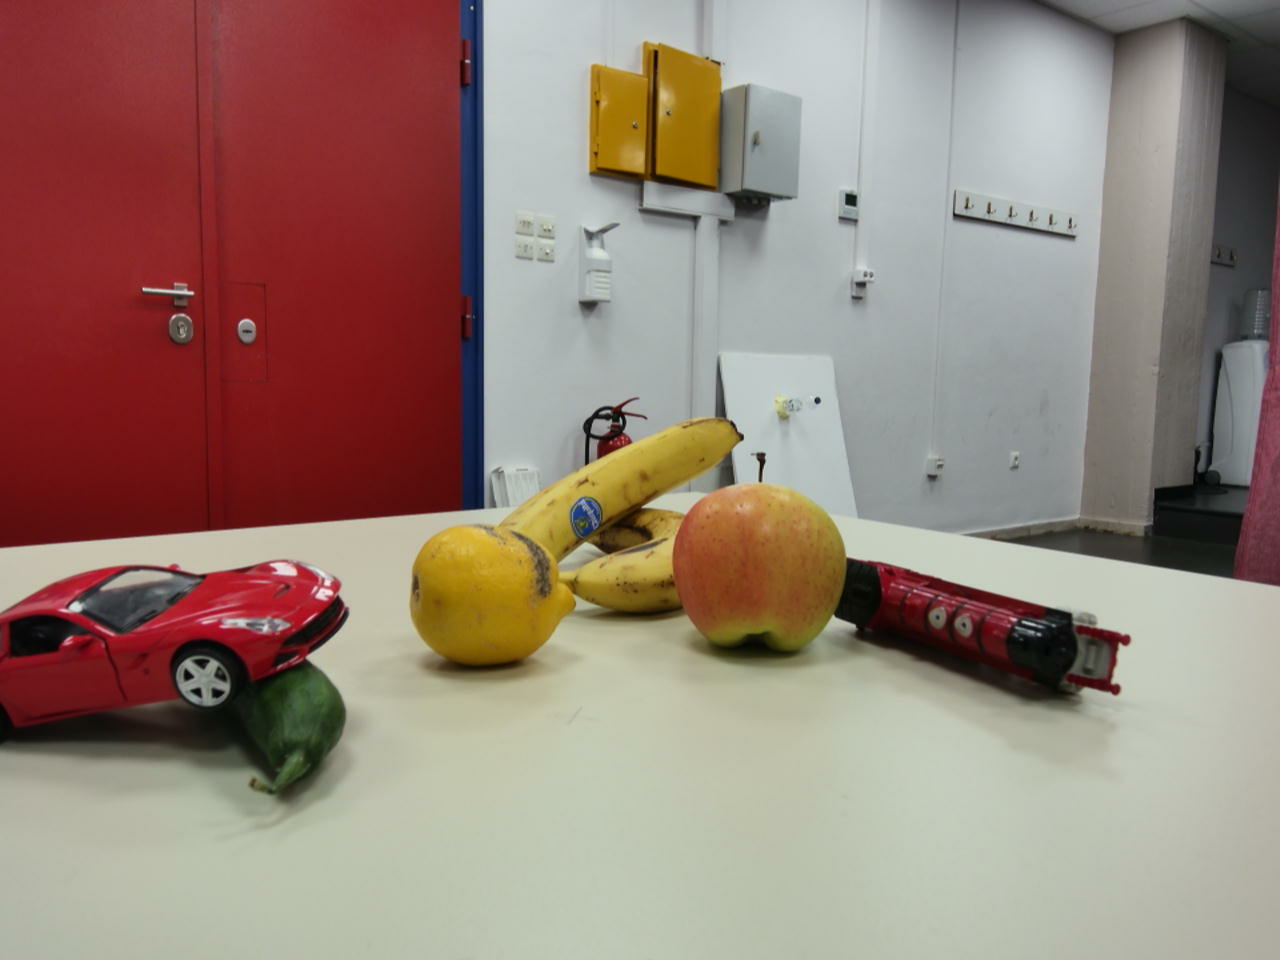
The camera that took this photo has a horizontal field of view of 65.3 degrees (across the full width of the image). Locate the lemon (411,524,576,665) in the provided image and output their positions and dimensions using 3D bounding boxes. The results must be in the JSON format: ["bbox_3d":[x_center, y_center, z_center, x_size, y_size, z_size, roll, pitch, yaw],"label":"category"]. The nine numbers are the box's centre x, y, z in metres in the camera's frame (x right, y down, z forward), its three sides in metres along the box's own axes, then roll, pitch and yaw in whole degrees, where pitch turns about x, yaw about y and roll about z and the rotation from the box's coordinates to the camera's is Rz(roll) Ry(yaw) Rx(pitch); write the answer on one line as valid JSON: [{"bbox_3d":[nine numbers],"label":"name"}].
[{"bbox_3d":[-0.062,0.046,0.405,0.058,0.056,0.061,4,6,44],"label":"lemon"}]
